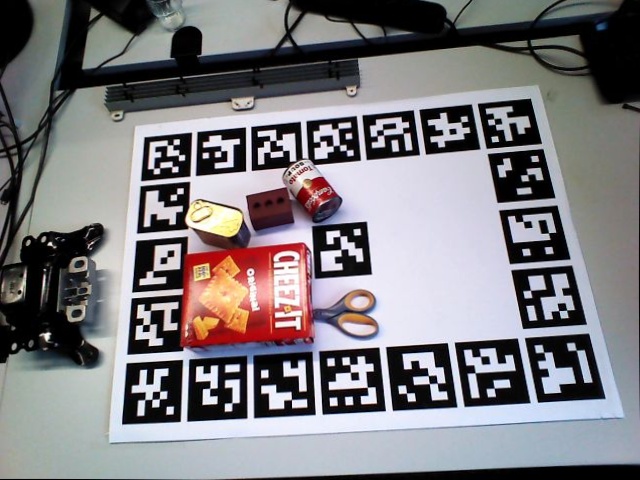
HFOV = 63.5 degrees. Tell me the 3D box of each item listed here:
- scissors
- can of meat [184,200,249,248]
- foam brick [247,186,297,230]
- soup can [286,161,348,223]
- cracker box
[{"bbox_3d":[-0.005,0.133,0.871,0.203,0.016,0.087,-9,71,3],"label":"scissors"},{"bbox_3d":[-0.182,-0.027,0.921,0.102,0.084,0.057,9,72,9],"label":"can of meat"},{"bbox_3d":[-0.087,-0.058,0.941,0.078,0.051,0.052,-14,70,1],"label":"foam brick"},{"bbox_3d":[-0.006,-0.090,0.942,0.068,0.068,0.102,-40,66,-8],"label":"soup can"},{"bbox_3d":[-0.125,0.099,0.863,0.214,0.072,0.163,-10,69,7],"label":"cracker box"}]
